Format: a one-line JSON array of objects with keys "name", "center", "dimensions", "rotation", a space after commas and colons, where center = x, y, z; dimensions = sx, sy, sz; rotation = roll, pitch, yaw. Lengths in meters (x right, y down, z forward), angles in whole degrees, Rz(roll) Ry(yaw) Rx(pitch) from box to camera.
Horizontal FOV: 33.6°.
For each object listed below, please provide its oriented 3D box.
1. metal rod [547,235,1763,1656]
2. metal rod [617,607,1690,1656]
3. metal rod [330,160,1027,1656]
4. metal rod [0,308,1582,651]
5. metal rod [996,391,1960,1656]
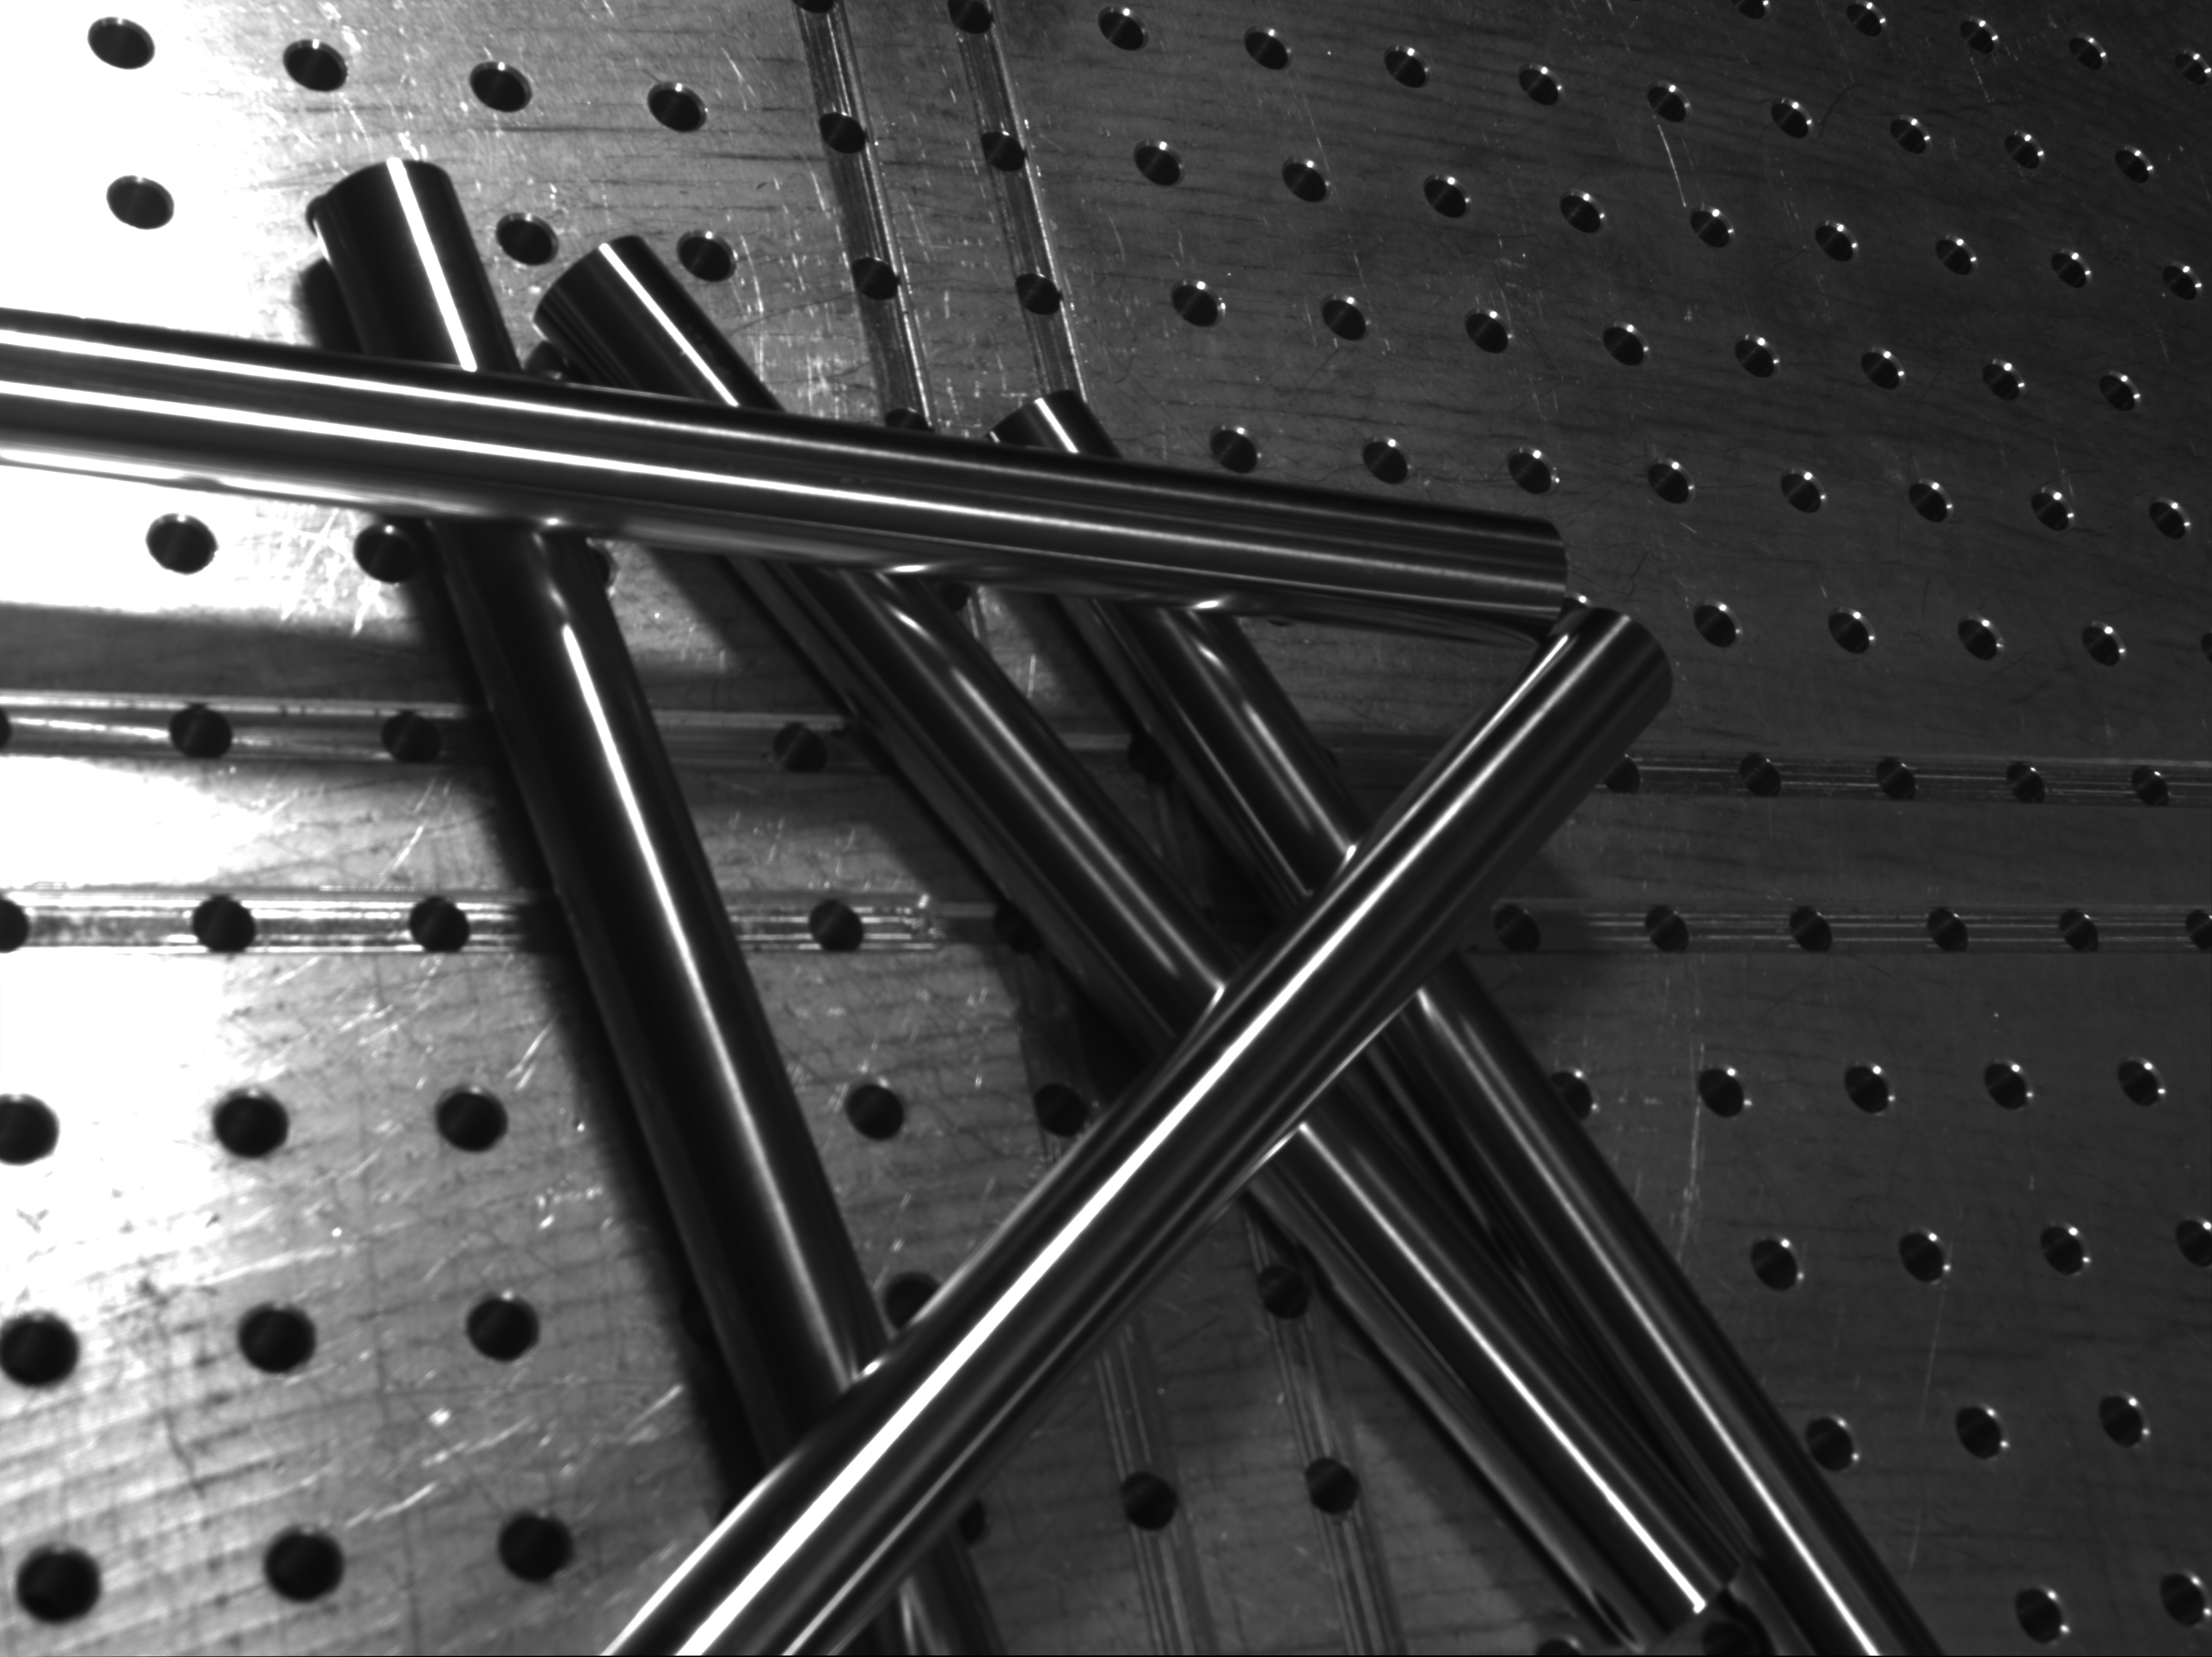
[{"name": "metal rod", "center": [0.005, 0.017, 0.635], "dimensions": [0.025, 0.025, 0.300], "rotation": [-34, 81, -38]}, {"name": "metal rod", "center": [0.014, 0.051, 0.586], "dimensions": [0.025, 0.025, 0.300], "rotation": [44, 51, 2]}, {"name": "metal rod", "center": [-0.069, 0.020, 0.593], "dimensions": [0.025, 0.025, 0.300], "rotation": [-10, 67, -32]}, {"name": "metal rod", "center": [-0.053, -0.057, 0.617], "dimensions": [0.301, 0.025, 0.025], "rotation": [5, 59, -26]}, {"name": "metal rod", "center": [0.069, 0.048, 0.650], "dimensions": [0.025, 0.025, 0.300], "rotation": [-25, 75, -37]}]
